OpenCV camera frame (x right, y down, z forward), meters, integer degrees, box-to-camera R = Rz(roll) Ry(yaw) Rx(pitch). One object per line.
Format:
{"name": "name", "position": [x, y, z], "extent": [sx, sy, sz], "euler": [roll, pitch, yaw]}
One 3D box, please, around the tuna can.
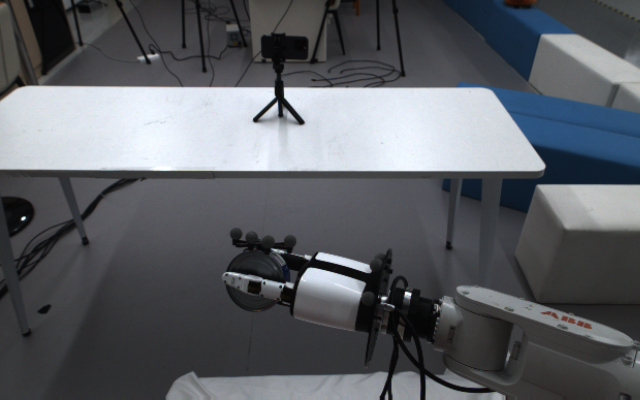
{"name": "tuna can", "position": [-0.084, 0.109, 0.671], "extent": [0.085, 0.085, 0.034], "euler": [12, 2, 13]}
